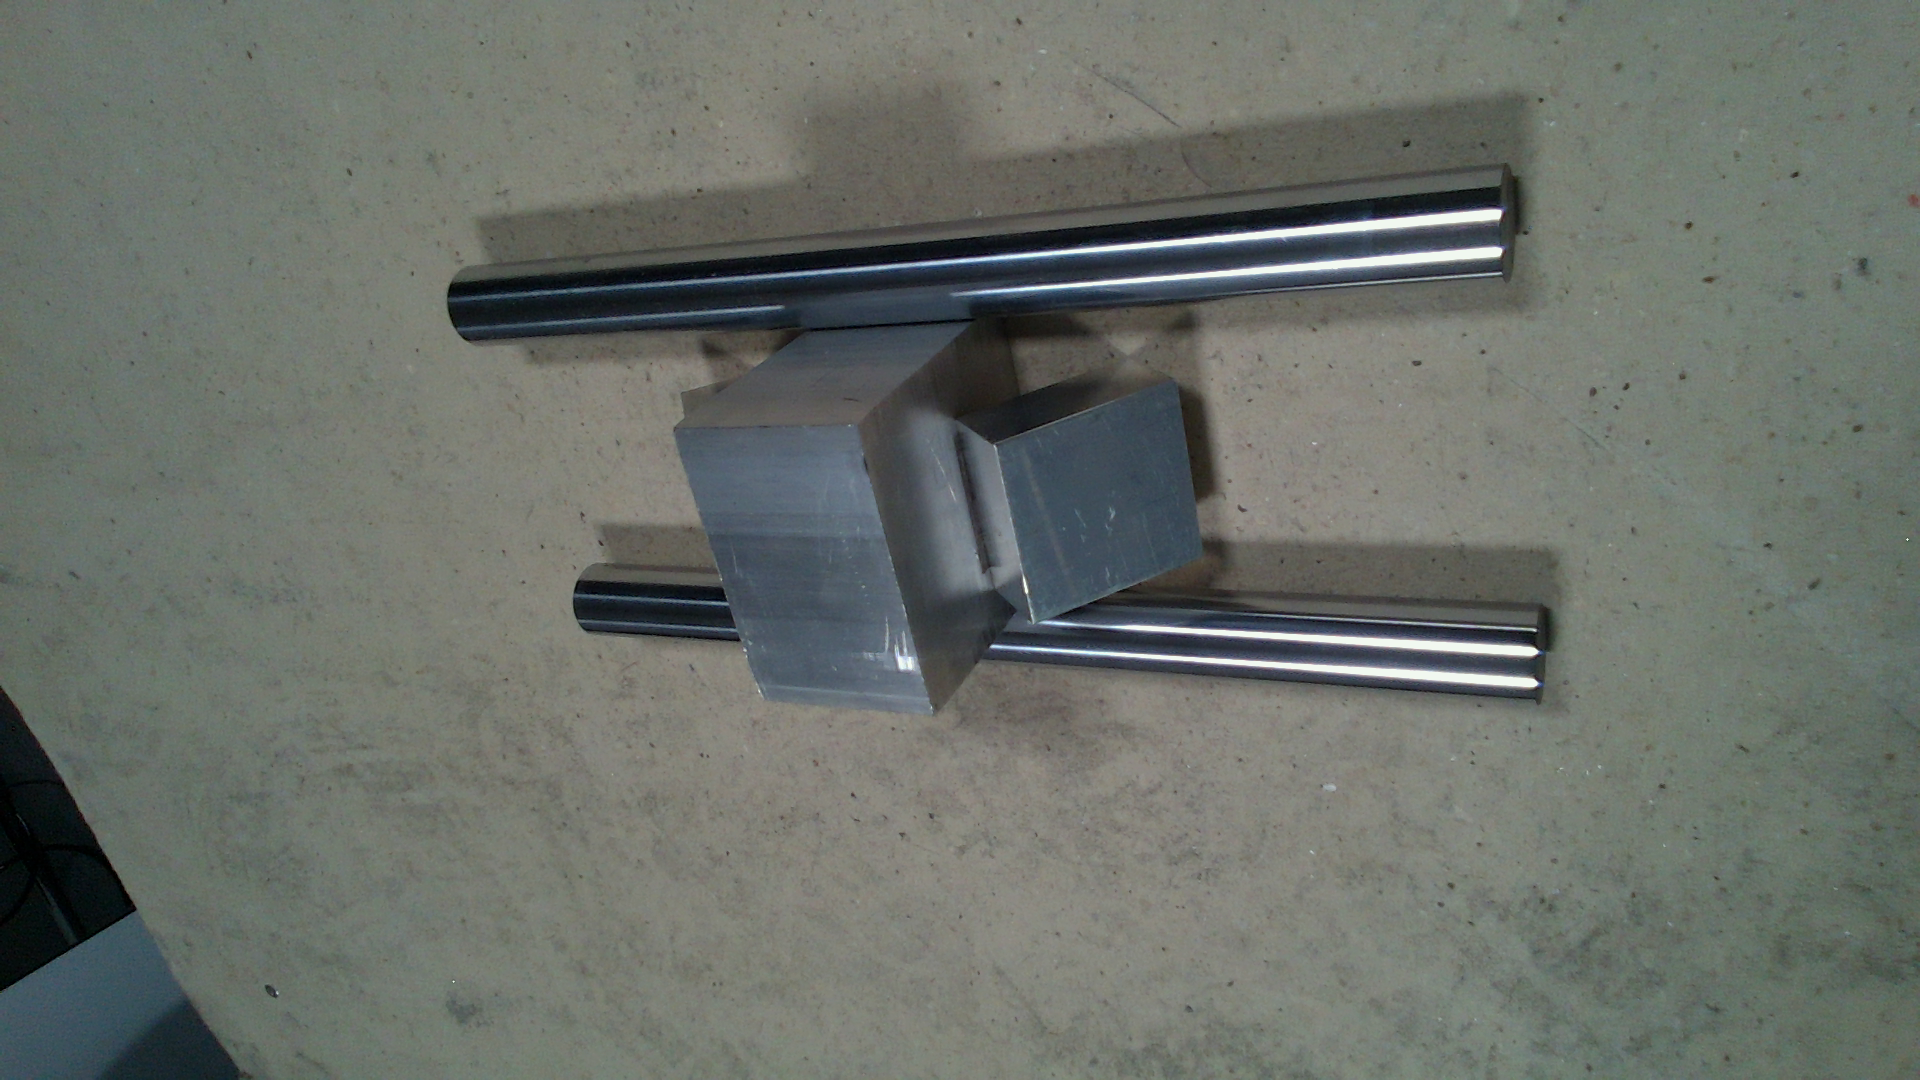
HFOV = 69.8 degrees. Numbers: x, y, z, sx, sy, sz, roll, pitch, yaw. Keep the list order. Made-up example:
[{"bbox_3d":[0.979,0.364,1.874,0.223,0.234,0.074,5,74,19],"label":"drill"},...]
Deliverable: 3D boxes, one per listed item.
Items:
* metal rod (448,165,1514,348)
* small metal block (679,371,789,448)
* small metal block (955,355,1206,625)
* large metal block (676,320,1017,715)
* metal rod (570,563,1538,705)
[{"bbox_3d":[-0.017,-0.069,0.359,0.299,0.025,0.025,1,119,28],"label":"metal rod"},{"bbox_3d":[-0.060,-0.017,0.397,0.025,0.050,0.050,-17,116,-7],"label":"small metal block"},{"bbox_3d":[0.031,-0.013,0.350,0.025,0.050,0.050,40,147,60],"label":"small metal block"},{"bbox_3d":[-0.020,-0.011,0.364,0.050,0.080,0.080,1,119,28],"label":"large metal block"},{"bbox_3d":[0.008,0.024,0.404,0.299,0.025,0.025,2,119,27],"label":"metal rod"}]
